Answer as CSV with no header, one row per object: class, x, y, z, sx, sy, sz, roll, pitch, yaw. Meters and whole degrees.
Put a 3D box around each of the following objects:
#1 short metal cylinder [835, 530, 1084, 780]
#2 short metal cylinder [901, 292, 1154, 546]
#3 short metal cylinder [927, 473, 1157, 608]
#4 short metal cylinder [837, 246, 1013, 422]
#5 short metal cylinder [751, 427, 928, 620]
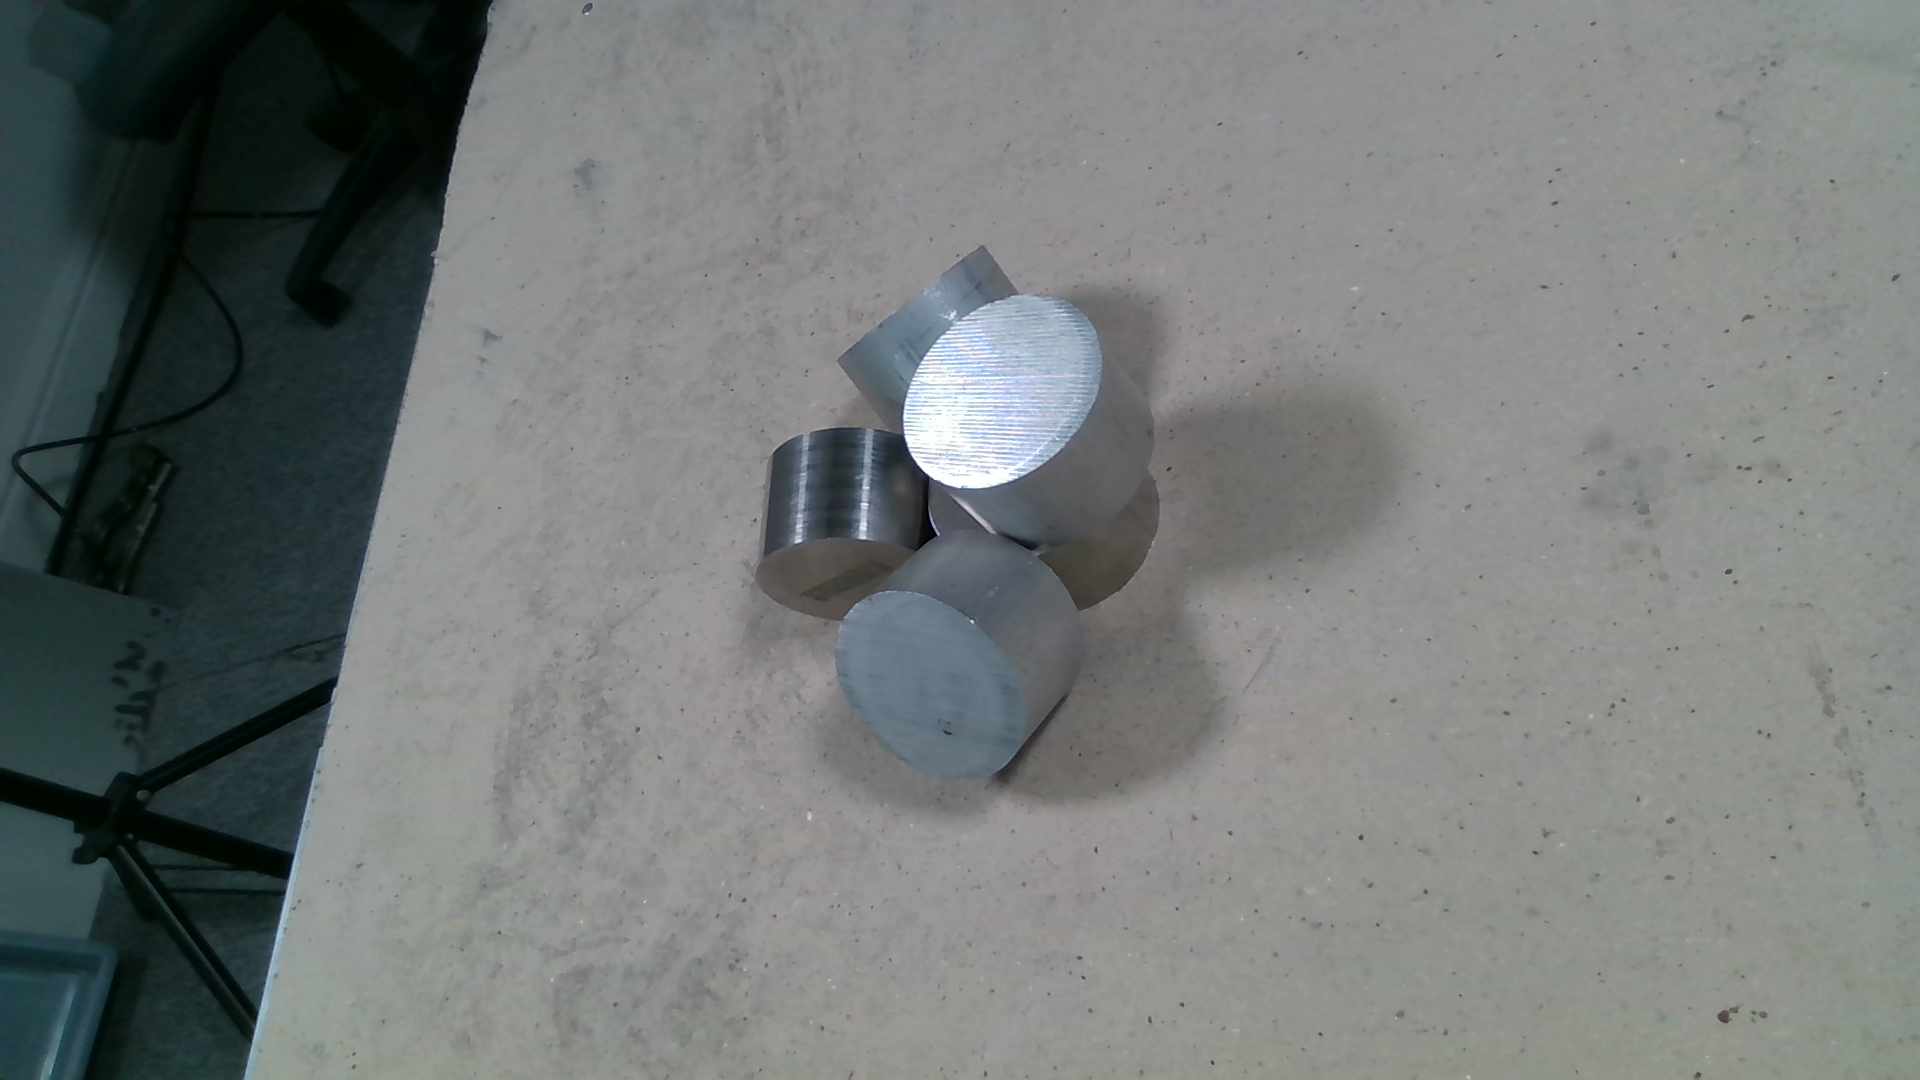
short metal cylinder,0.000,0.043,0.520,0.080,0.080,0.050,1,27,32
short metal cylinder,0.025,-0.044,0.512,0.080,0.050,0.080,-14,59,25
short metal cylinder,0.034,-0.017,0.558,0.080,0.050,0.080,-14,59,25
short metal cylinder,-0.007,-0.082,0.592,0.080,0.050,0.080,-37,8,6
short metal cylinder,-0.045,-0.005,0.579,0.080,0.080,0.050,-13,59,26
